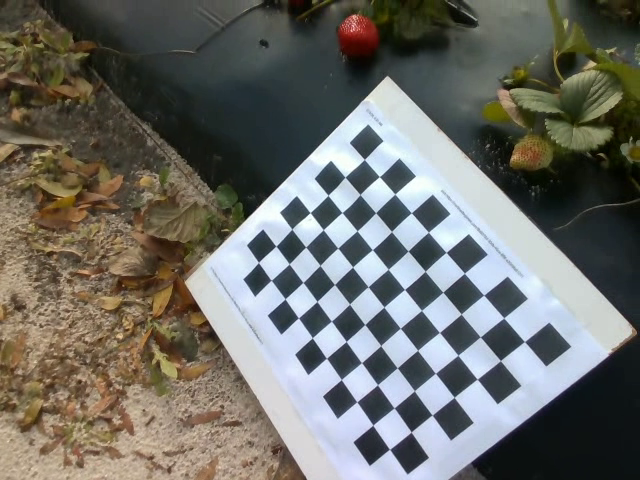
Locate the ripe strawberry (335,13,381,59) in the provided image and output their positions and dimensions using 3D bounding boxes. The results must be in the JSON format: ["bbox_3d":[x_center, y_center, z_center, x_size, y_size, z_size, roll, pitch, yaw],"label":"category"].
[{"bbox_3d":[0.029,-0.142,0.465,0.037,0.034,0.039,-37,-5,26],"label":"ripe strawberry"}]
